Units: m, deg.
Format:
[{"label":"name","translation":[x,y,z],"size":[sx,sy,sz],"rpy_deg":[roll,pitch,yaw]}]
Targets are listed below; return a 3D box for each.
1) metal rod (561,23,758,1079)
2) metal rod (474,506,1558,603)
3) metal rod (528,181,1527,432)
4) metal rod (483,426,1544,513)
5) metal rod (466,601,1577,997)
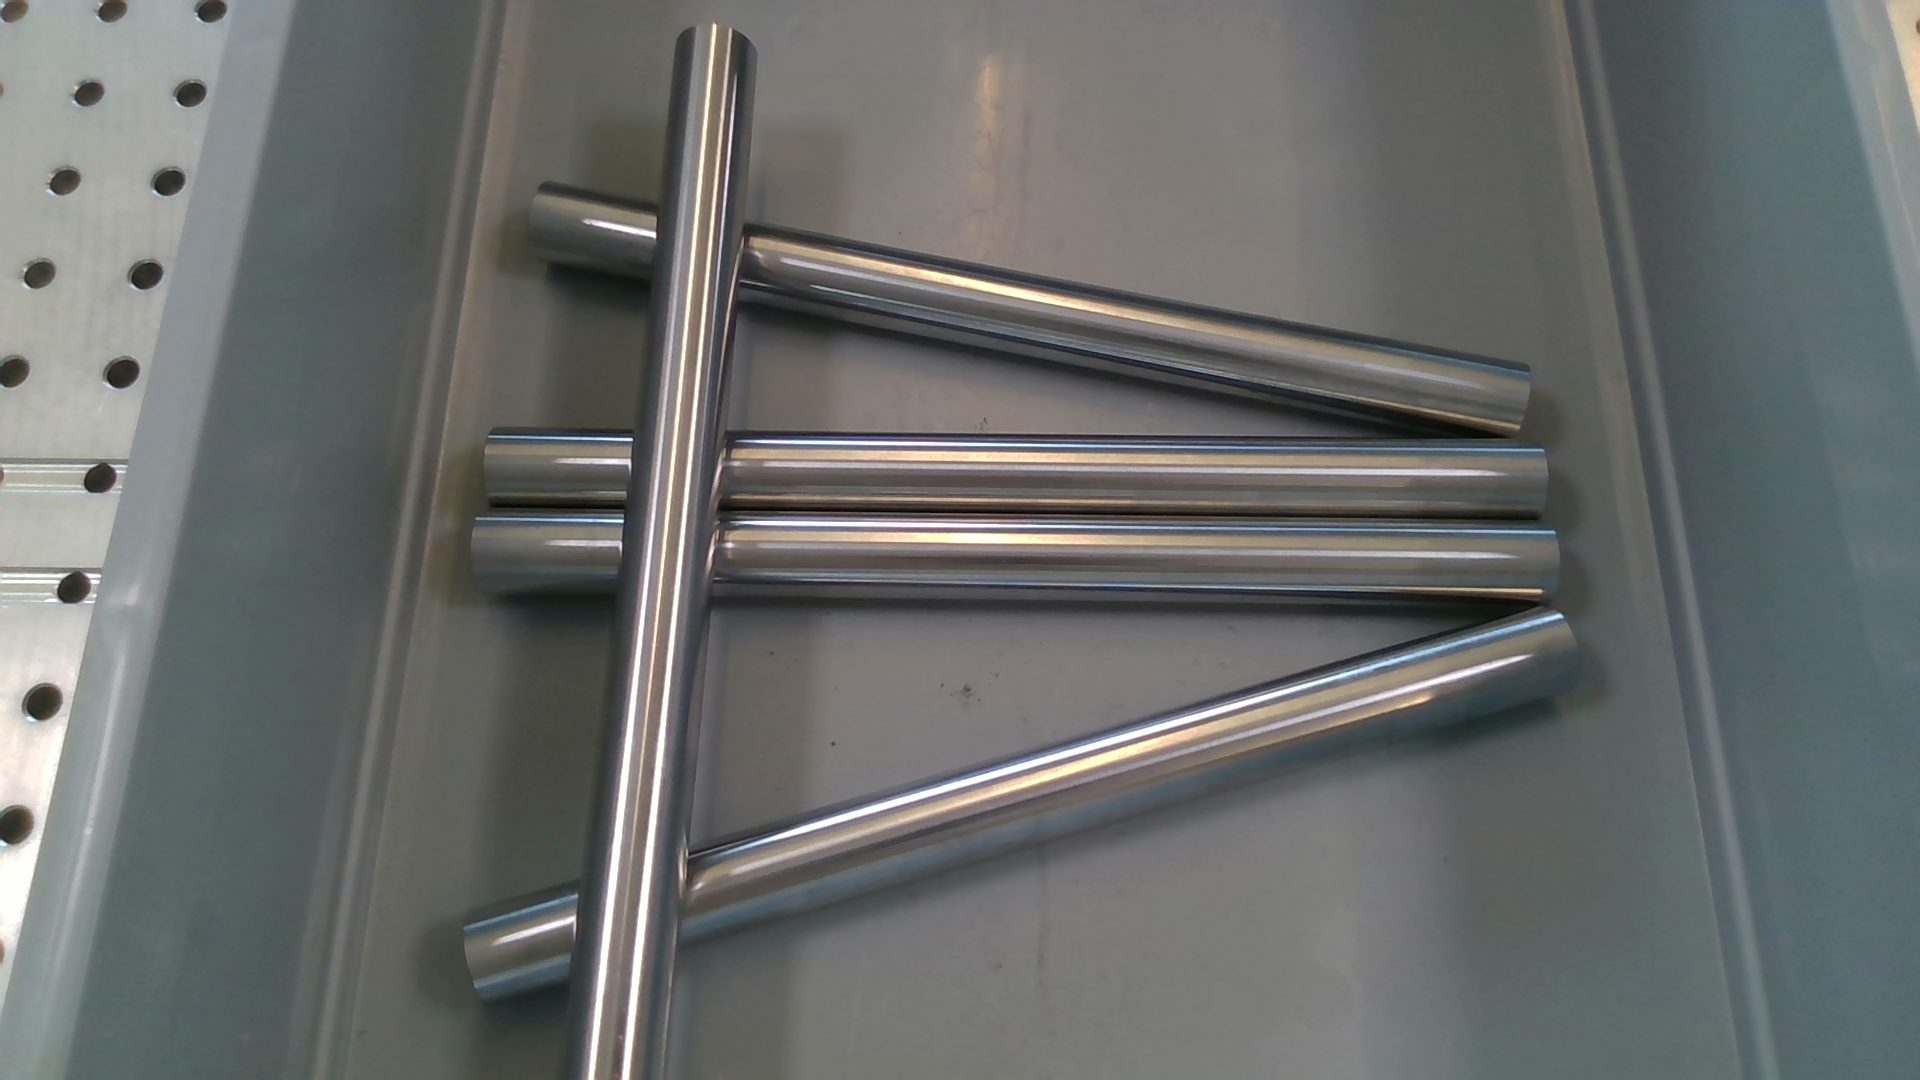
[{"label":"metal rod","translation":[-0.077,-0.009,0.370],"size":[0.025,0.025,0.299],"rpy_deg":[1,70,0]},{"label":"metal rod","translation":[0.015,0.004,0.393],"size":[0.300,0.025,0.025],"rpy_deg":[1,70,0]},{"label":"metal rod","translation":[0.017,-0.070,0.420],"size":[0.300,0.025,0.025],"rpy_deg":[11,71,4]},{"label":"metal rod","translation":[0.015,-0.019,0.402],"size":[0.300,0.025,0.025],"rpy_deg":[1,70,0]},{"label":"metal rod","translation":[0.021,0.067,0.371],"size":[0.300,0.025,0.025],"rpy_deg":[-15,71,-5]}]
